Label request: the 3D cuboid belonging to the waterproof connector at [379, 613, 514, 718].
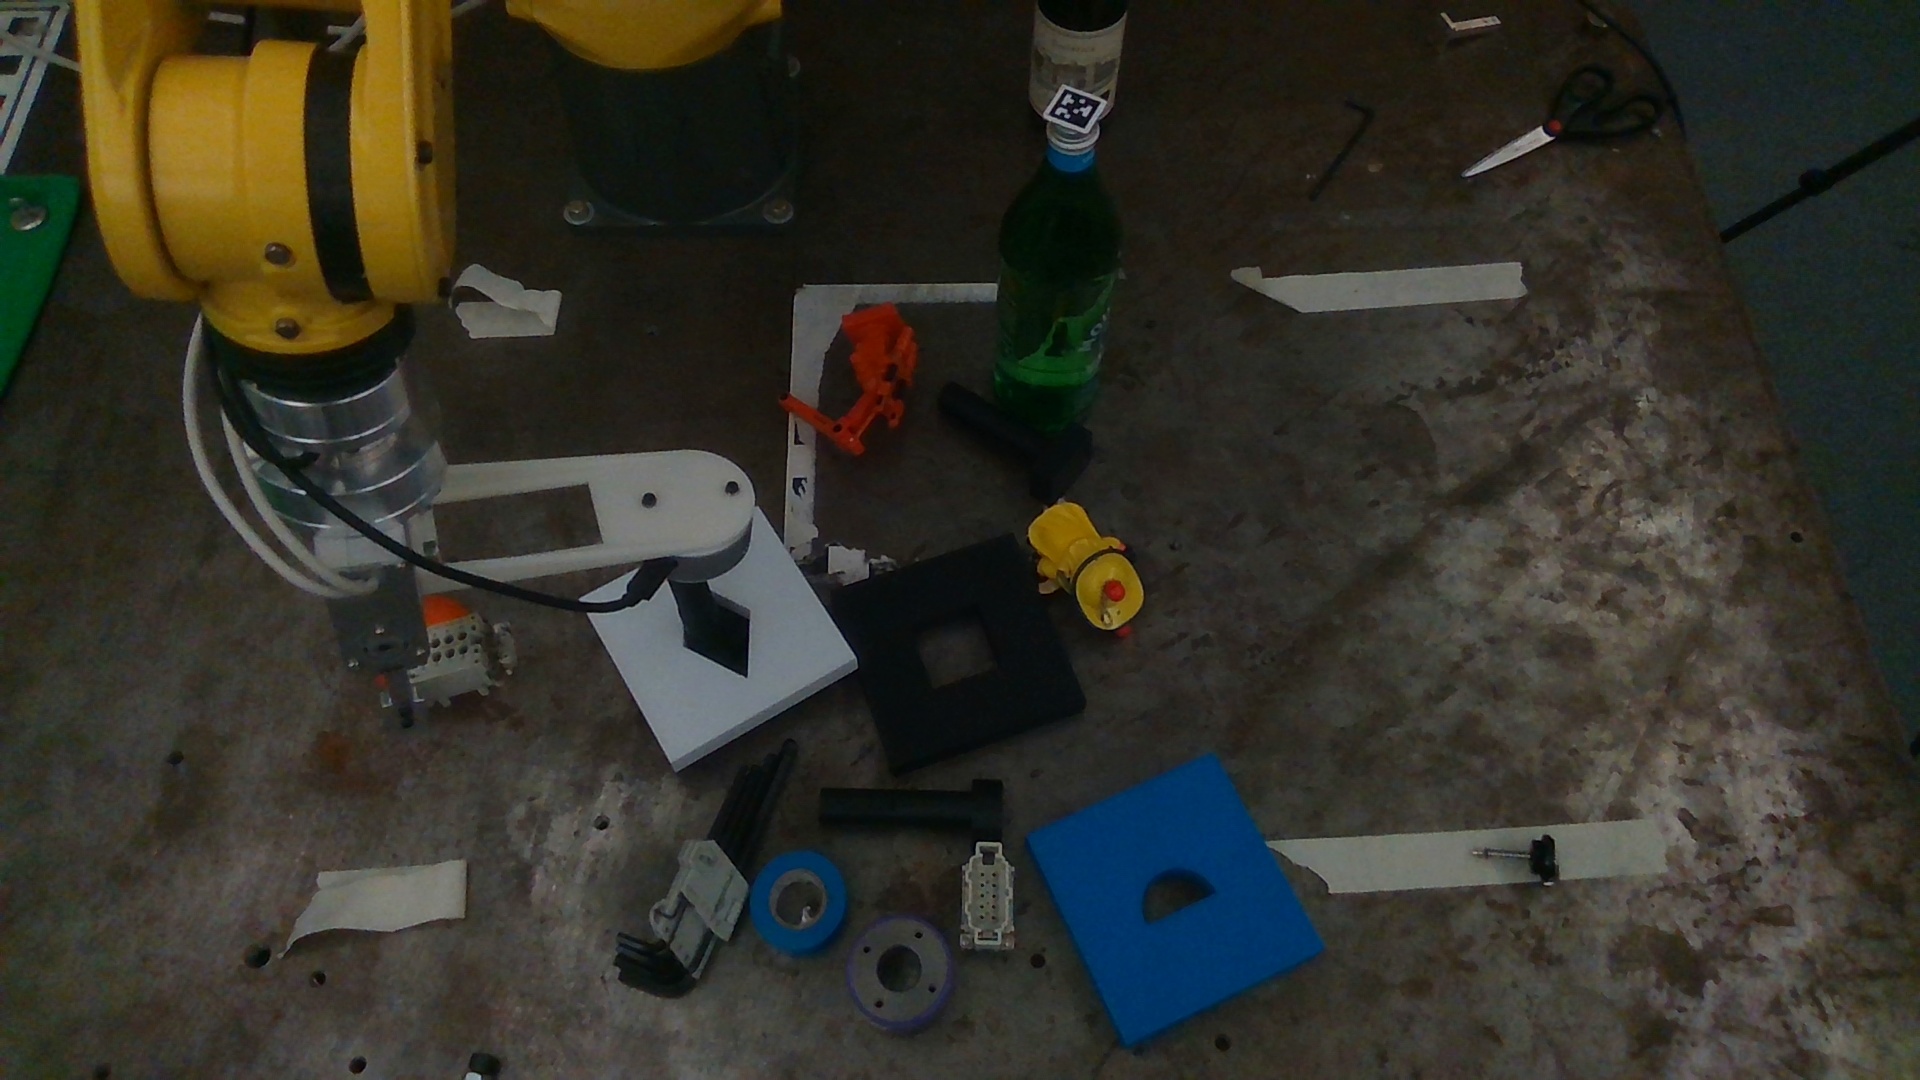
[{"bbox_3d":[-0.280,0.069,0.755,0.069,0.038,0.037,-19,57,-5],"label":"waterproof connector"}]
